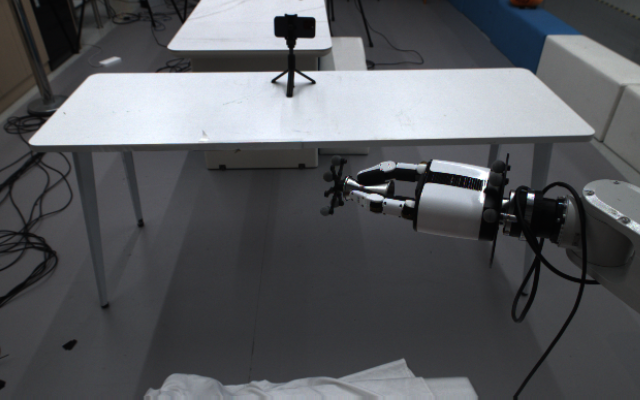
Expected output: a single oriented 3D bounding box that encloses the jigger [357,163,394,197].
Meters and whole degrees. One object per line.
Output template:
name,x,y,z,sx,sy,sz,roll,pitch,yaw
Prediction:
jigger,0.078,-0.016,0.724,0.071,0.043,0.043,10,35,22
